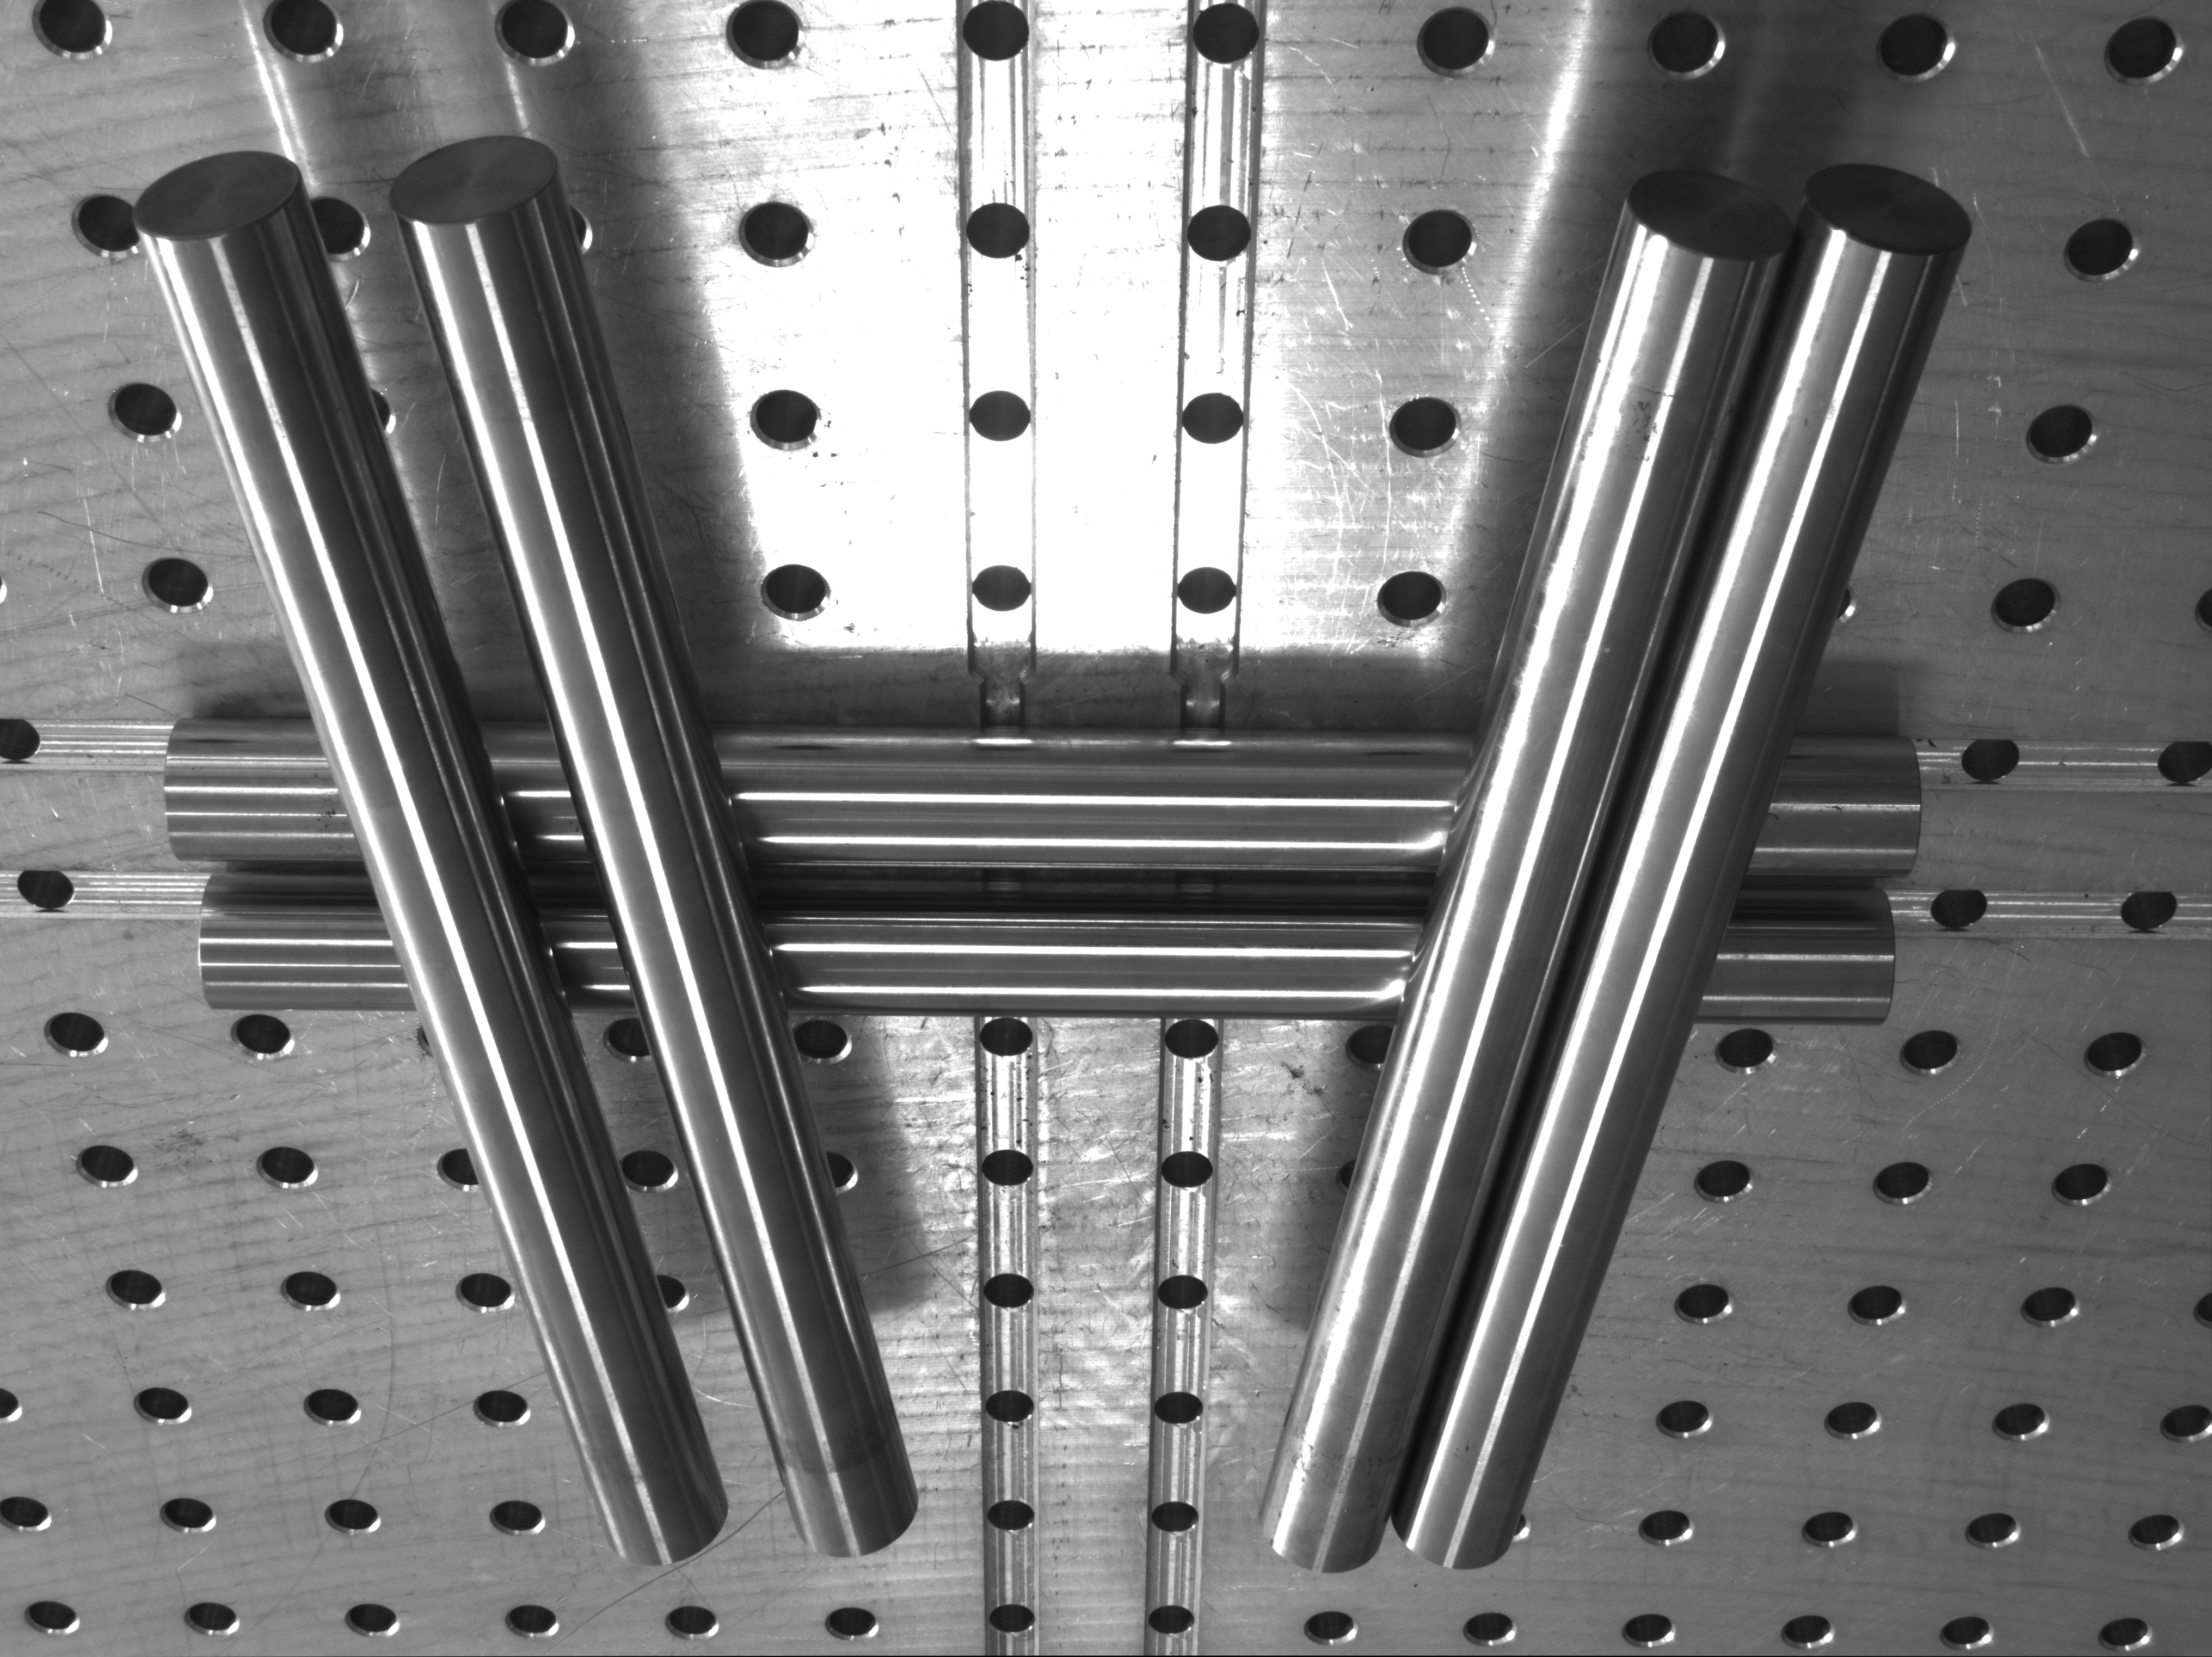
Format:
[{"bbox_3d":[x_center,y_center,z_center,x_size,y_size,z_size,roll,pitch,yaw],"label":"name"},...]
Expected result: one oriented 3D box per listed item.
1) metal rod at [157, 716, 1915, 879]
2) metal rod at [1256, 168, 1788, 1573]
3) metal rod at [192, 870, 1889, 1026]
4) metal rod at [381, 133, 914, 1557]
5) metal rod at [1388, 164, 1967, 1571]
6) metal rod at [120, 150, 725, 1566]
[{"bbox_3d":[-0.012,-0.005,0.639,0.300,0.025,0.025,1,130,-1],"label":"metal rod"},{"bbox_3d":[0.064,0.024,0.631,0.025,0.025,0.300,7,130,-6],"label":"metal rod"},{"bbox_3d":[-0.011,0.022,0.662,0.300,0.025,0.025,1,130,-1],"label":"metal rod"},{"bbox_3d":[-0.071,0.020,0.627,0.025,0.025,0.300,-6,130,5],"label":"metal rod"},{"bbox_3d":[0.091,0.023,0.631,0.025,0.025,0.300,7,130,-6],"label":"metal rod"},{"bbox_3d":[-0.109,0.022,0.629,0.025,0.025,0.300,-6,130,5],"label":"metal rod"}]
